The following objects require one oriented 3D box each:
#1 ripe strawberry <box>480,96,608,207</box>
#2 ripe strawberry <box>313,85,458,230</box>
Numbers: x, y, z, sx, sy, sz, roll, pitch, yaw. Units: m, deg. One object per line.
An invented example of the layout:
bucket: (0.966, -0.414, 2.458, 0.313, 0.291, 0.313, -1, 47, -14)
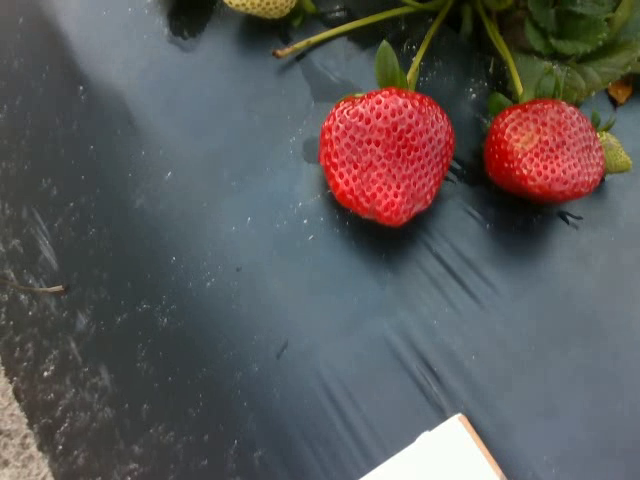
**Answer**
ripe strawberry: (0.091, -0.033, 0.242, 0.050, 0.051, 0.060, -17, 23, 23)
ripe strawberry: (0.025, -0.031, 0.240, 0.058, 0.065, 0.044, -11, -33, 25)
